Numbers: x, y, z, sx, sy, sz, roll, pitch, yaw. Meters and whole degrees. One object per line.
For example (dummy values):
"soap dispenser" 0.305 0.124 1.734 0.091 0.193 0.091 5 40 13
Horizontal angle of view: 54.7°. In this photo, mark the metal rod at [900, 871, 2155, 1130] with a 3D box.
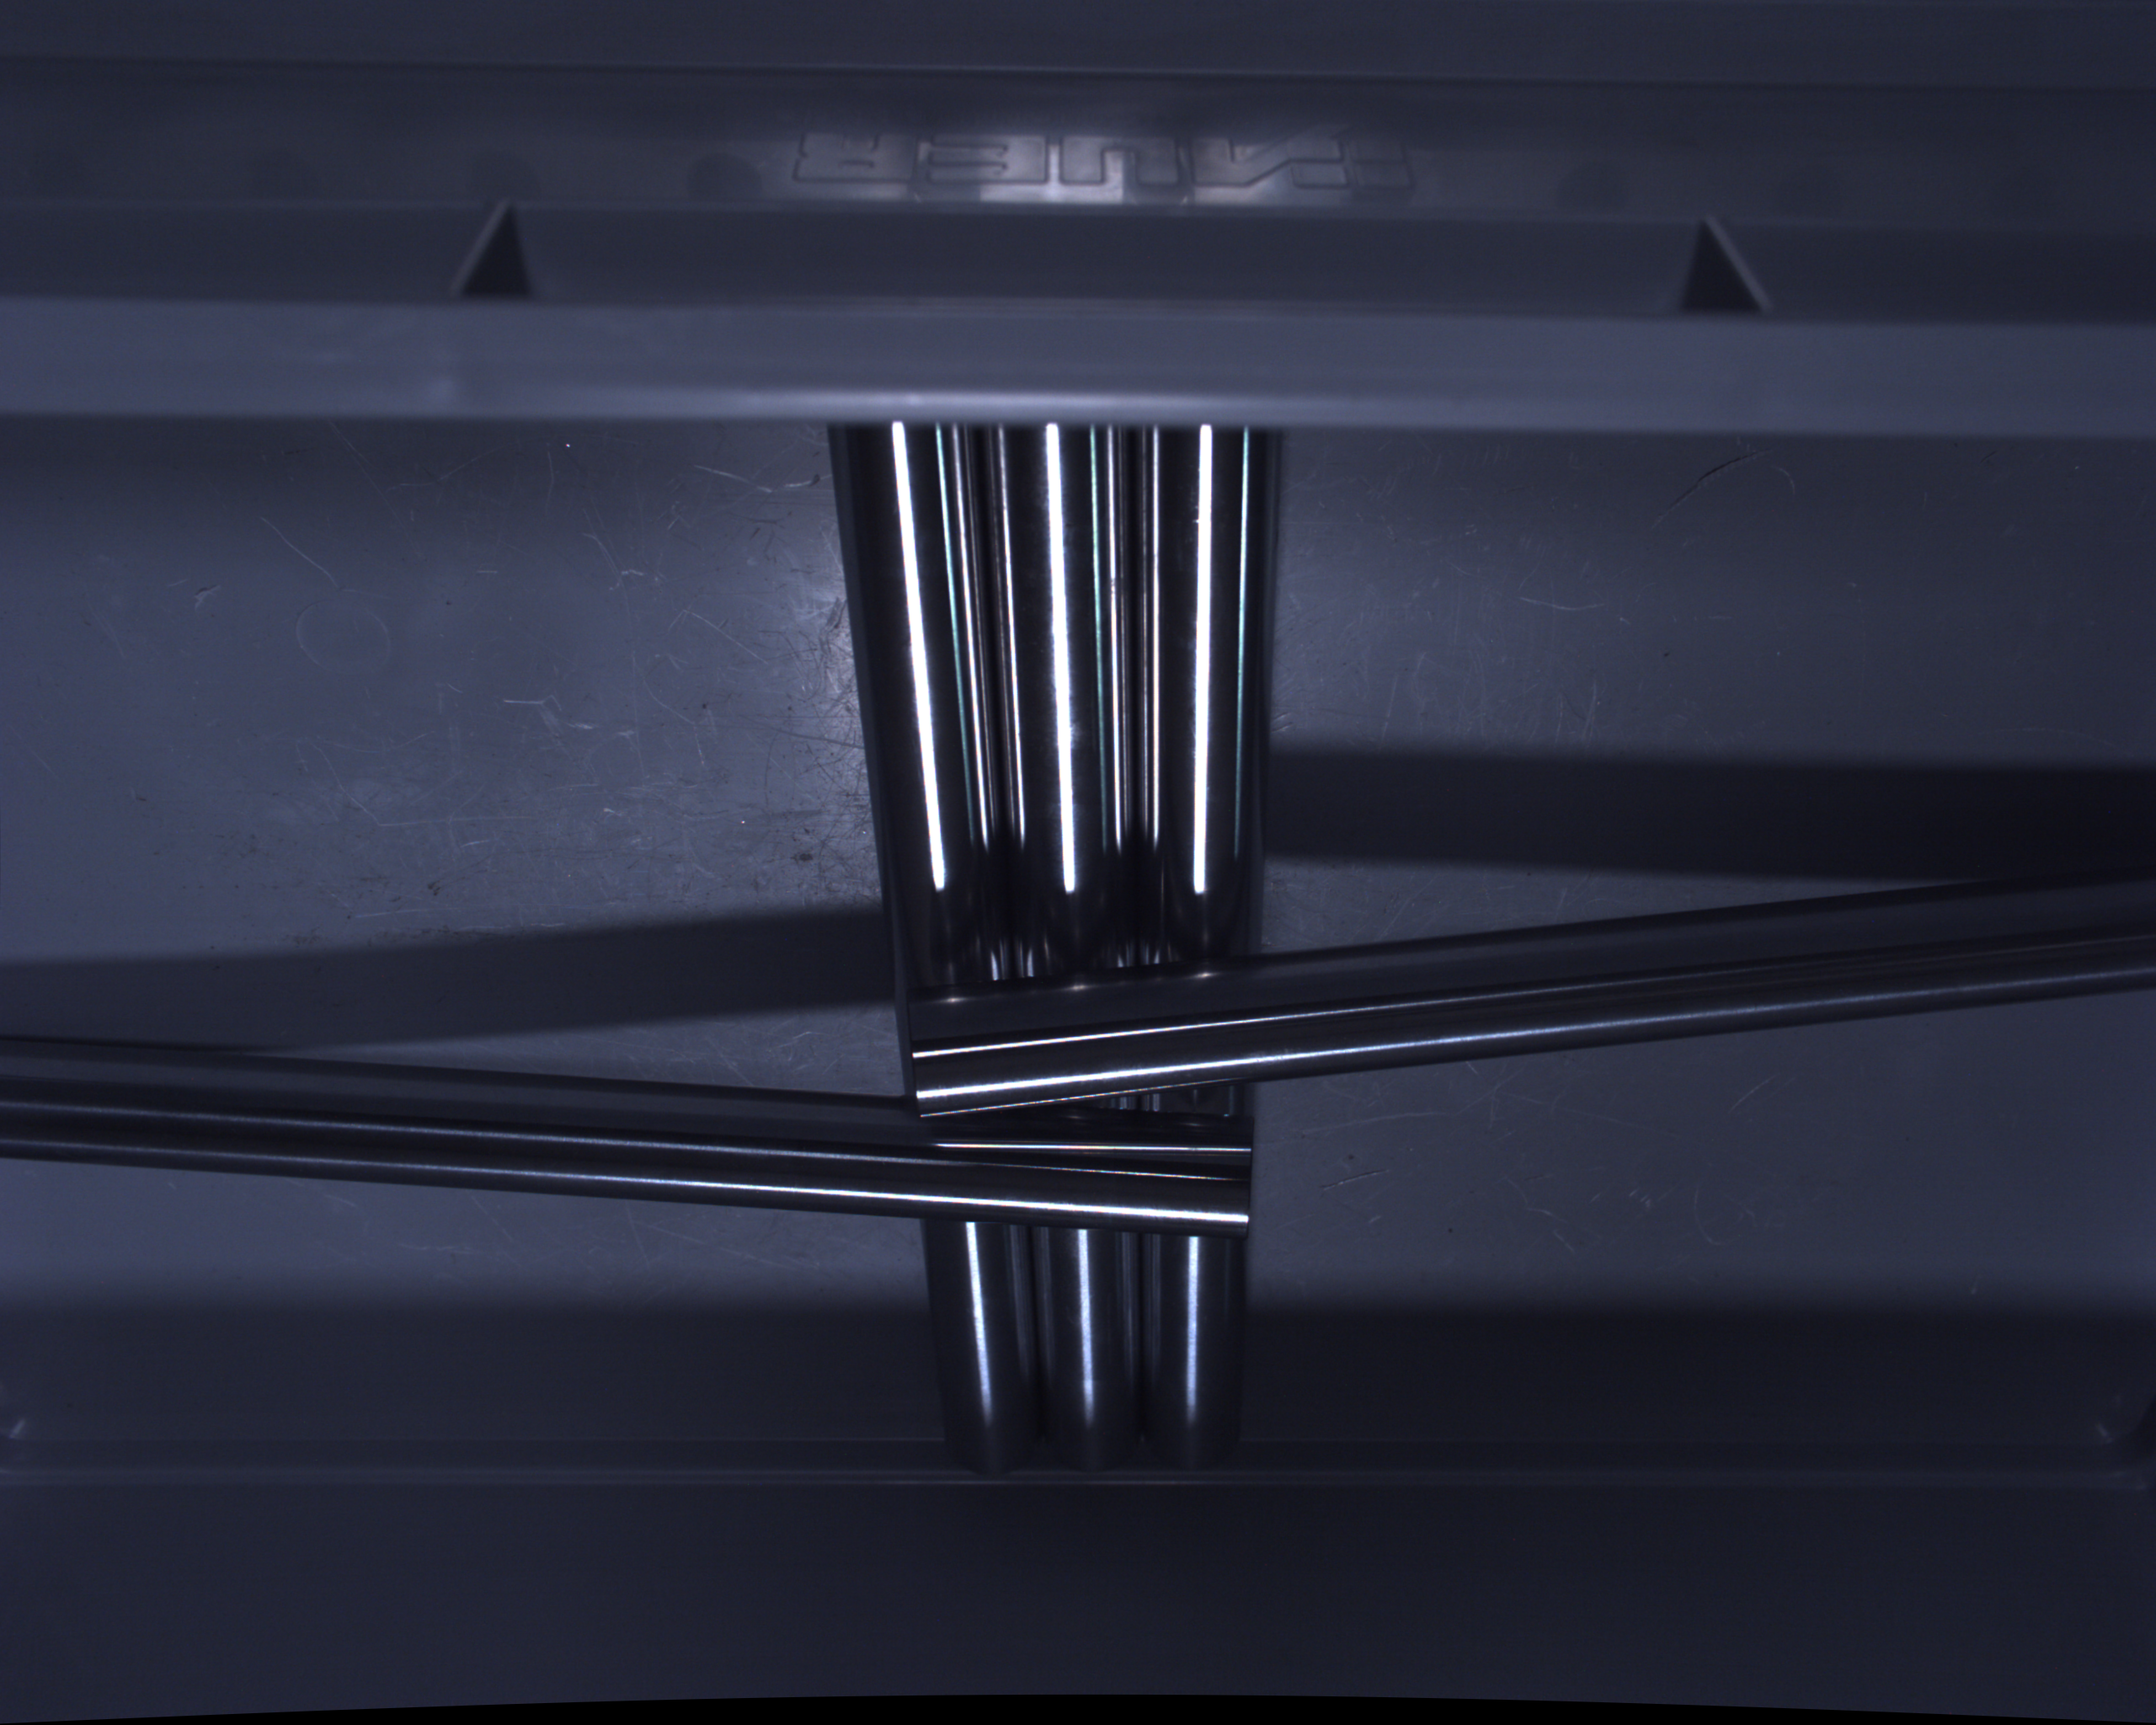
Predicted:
"metal rod" 0.117 0.024 0.407 0.302 0.025 0.025 -6 130 -4

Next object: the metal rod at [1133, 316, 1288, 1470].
"metal rod" 0.025 0.030 0.434 0.025 0.025 0.298 -1 130 0

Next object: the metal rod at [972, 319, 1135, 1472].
"metal rod" -0.001 0.031 0.434 0.025 0.025 0.298 -1 130 0

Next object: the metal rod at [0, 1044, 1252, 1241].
"metal rod" -0.116 0.056 0.432 0.302 0.025 0.025 3 130 5

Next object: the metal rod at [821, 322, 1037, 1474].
"metal rod" -0.026 0.031 0.434 0.025 0.025 0.298 -1 130 0
